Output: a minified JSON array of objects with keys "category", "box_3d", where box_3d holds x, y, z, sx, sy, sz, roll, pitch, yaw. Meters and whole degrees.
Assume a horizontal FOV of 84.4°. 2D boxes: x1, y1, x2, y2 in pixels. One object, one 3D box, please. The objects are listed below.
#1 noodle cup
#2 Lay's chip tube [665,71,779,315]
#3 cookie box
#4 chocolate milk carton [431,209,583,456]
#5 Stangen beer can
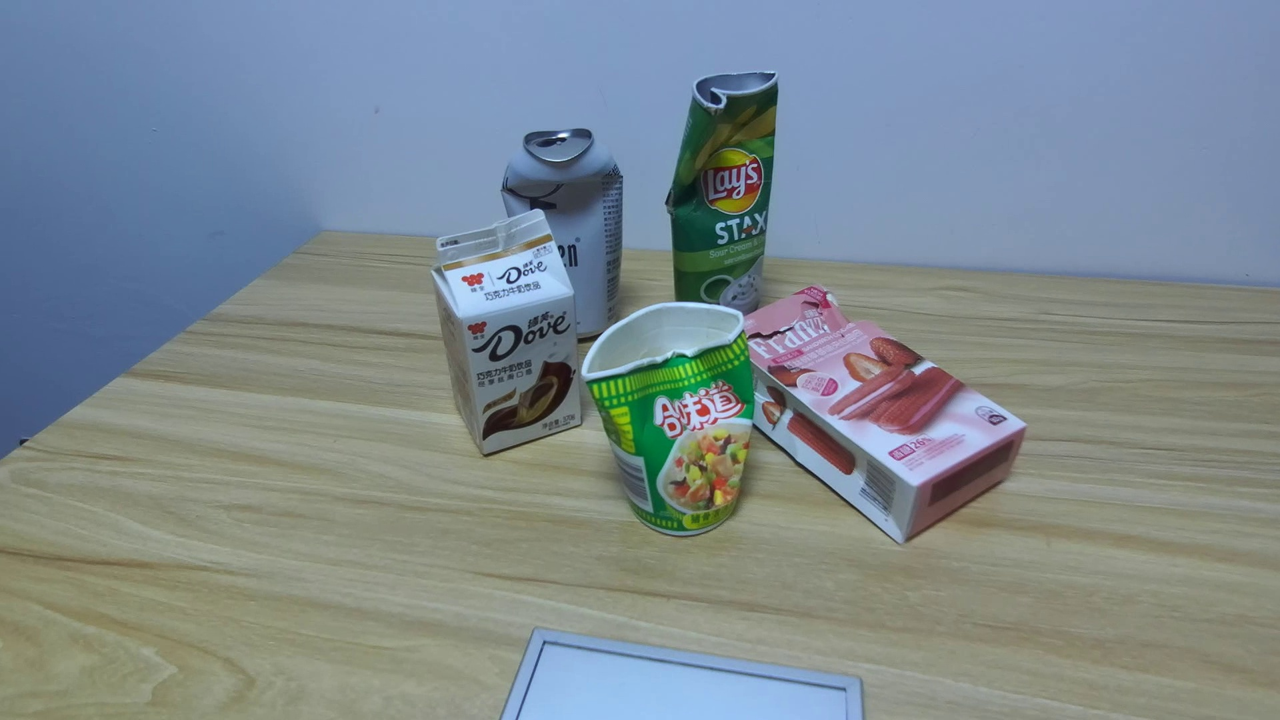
[{"category":"noodle cup","box_3d":[0.025,0.035,0.404,0.082,0.122,0.075,-7,26,11]},{"category":"Lay's chip tube","box_3d":[0.062,-0.107,0.534,0.069,0.201,0.077,7,37,13]},{"category":"cookie box","box_3d":[0.138,0.028,0.466,0.105,0.059,0.185,-22,44,-23]},{"category":"chocolate milk carton","box_3d":[-0.088,-0.024,0.466,0.075,0.148,0.073,-16,38,-23]},{"category":"Stangen beer can","box_3d":[-0.057,-0.094,0.557,0.077,0.162,0.065,-29,41,-35]}]
